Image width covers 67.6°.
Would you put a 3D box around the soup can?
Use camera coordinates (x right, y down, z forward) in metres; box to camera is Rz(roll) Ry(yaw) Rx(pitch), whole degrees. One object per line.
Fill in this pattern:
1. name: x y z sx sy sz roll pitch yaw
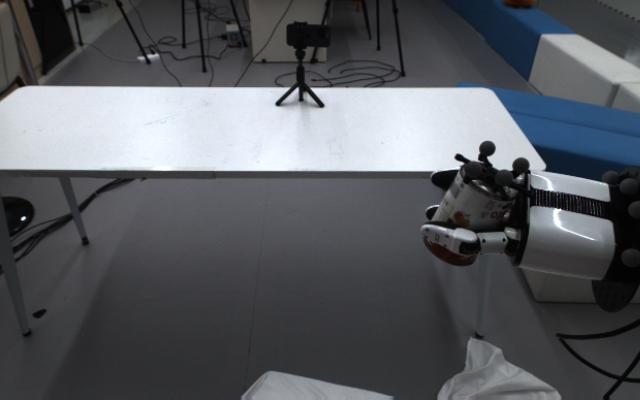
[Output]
1. soup can: 0.171 0.016 0.550 0.067 0.101 0.067 14 35 -10
